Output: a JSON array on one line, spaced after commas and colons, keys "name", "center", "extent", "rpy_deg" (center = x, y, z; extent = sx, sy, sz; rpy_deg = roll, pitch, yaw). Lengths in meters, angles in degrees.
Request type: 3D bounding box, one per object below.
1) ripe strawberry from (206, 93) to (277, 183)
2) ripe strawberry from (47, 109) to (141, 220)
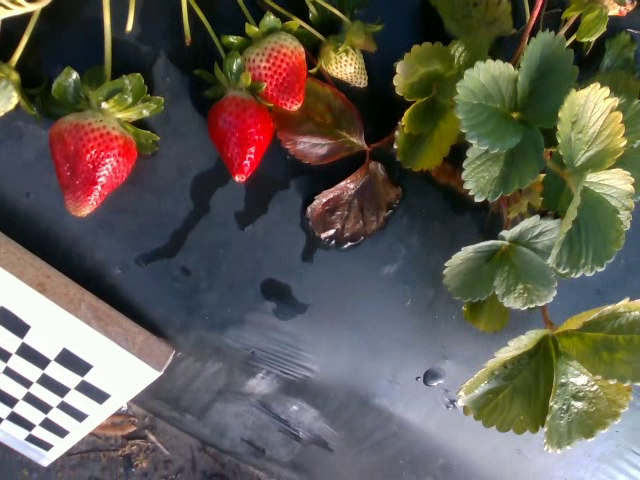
[{"name": "ripe strawberry", "center": [-0.049, -0.058, 0.348], "extent": [0.044, 0.055, 0.041], "rpy_deg": [-10, -16, 30]}, {"name": "ripe strawberry", "center": [-0.133, -0.043, 0.340], "extent": [0.050, 0.065, 0.050], "rpy_deg": [10, -12, 16]}]
